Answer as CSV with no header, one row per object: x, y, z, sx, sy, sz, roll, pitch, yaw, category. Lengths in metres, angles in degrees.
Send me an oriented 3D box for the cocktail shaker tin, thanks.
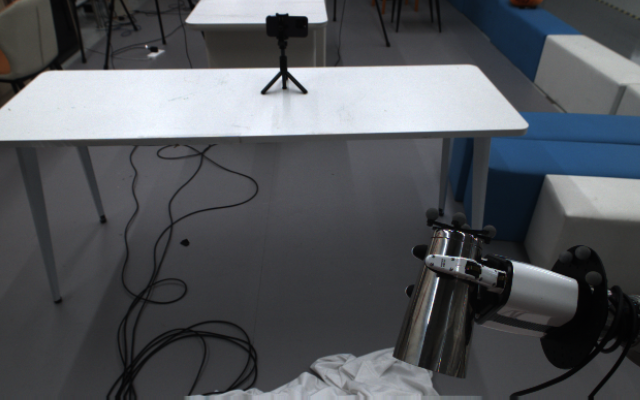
0.162,0.125,0.622,0.093,0.093,0.170,13,79,15,cocktail shaker tin
